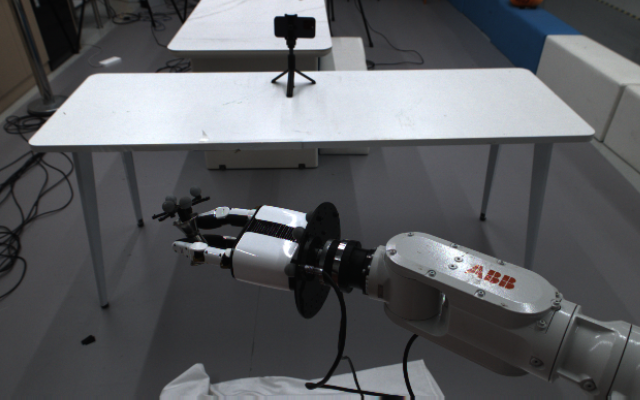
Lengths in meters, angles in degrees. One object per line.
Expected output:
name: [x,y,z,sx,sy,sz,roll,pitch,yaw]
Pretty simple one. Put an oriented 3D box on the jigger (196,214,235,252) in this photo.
jigger: [-0.182,0.057,0.719,0.043,0.071,0.043,-20,16,6]
